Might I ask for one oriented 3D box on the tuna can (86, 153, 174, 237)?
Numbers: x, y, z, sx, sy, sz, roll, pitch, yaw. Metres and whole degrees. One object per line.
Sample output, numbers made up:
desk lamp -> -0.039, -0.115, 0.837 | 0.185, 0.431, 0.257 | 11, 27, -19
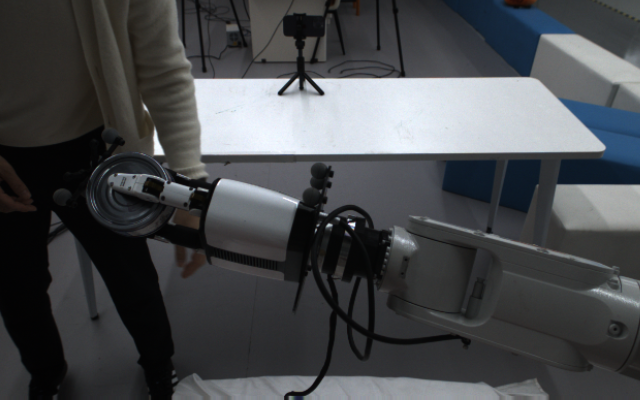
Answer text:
tuna can -> -0.193, -0.002, 0.503 | 0.085, 0.034, 0.085 | 1, 77, -6
